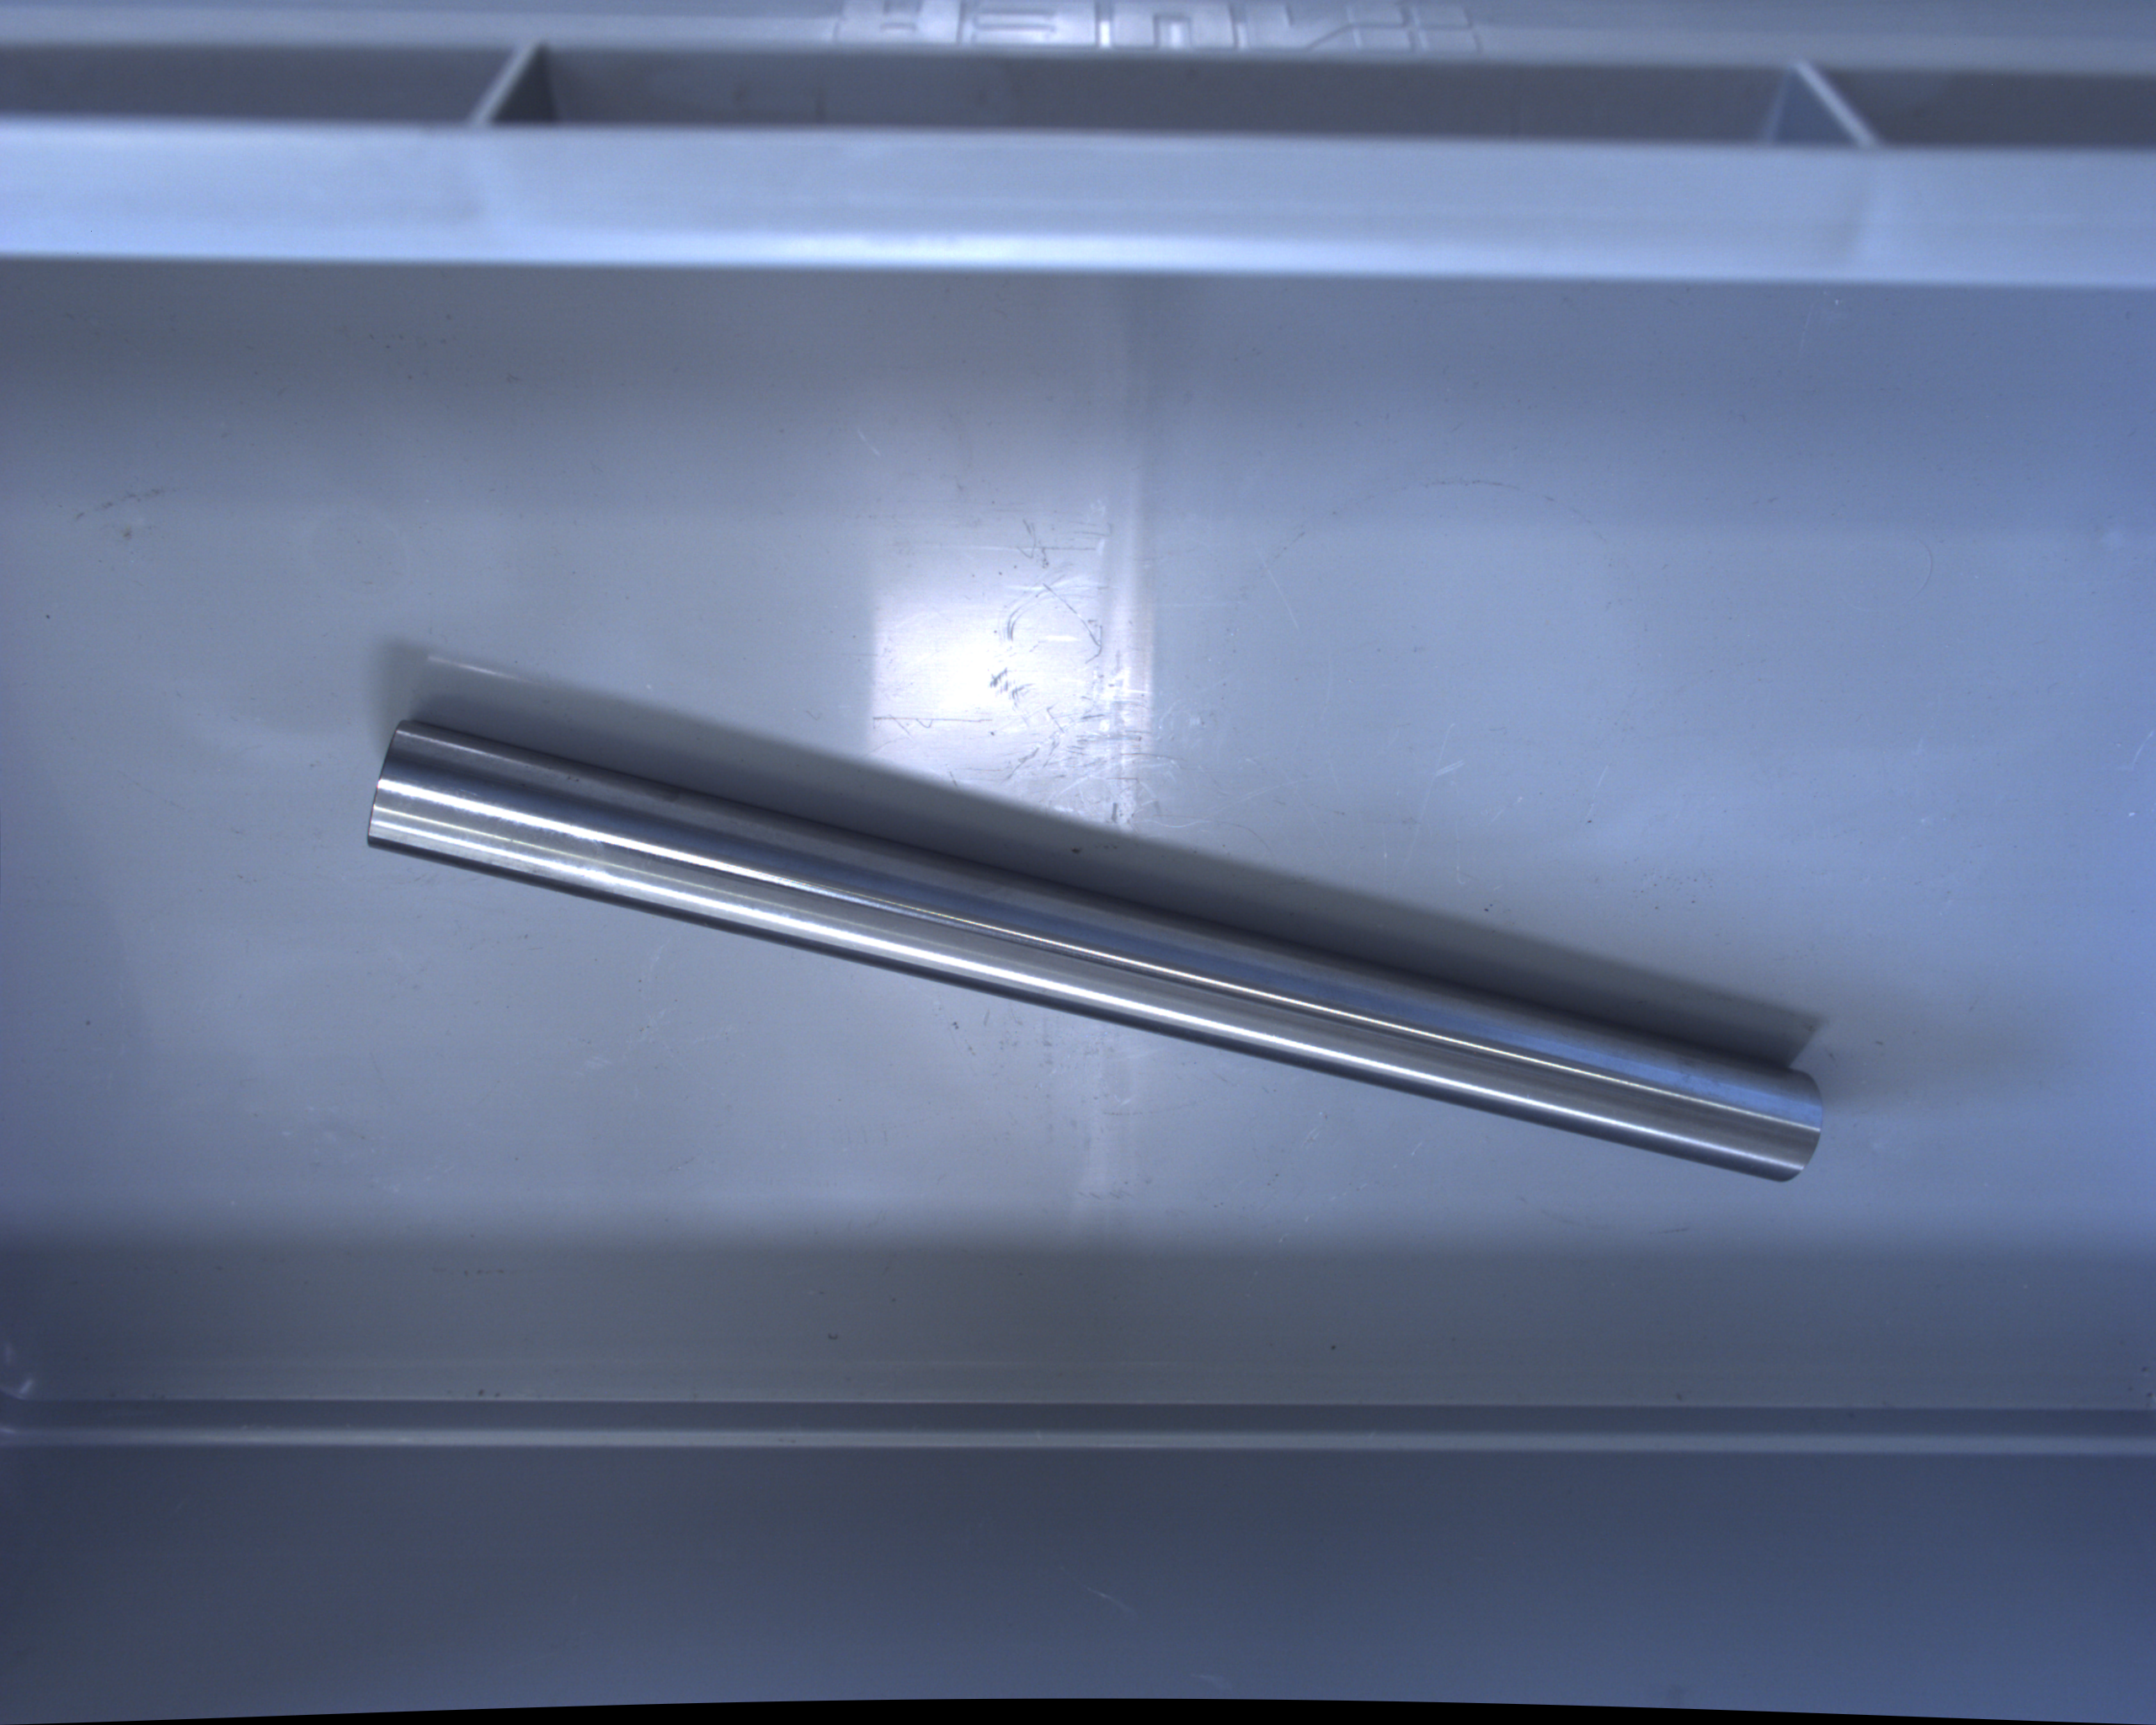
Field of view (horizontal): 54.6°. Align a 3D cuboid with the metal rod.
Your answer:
[{"bbox_3d":[0.013,0.021,0.425,0.302,0.025,0.025,14,129,-12],"label":"metal rod"}]
